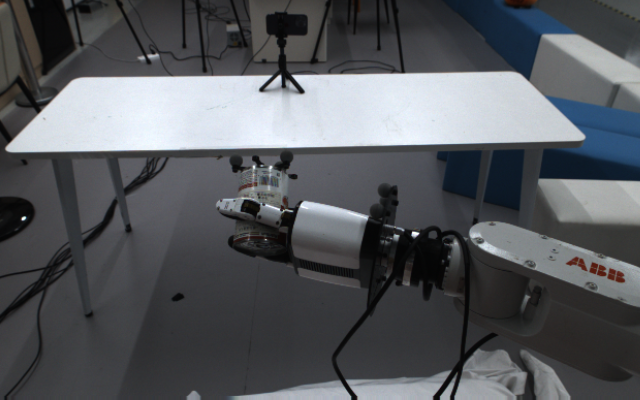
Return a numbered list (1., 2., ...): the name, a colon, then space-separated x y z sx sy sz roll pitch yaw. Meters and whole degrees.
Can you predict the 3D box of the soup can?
1. soup can: -0.073 0.015 0.619 0.067 0.067 0.101 1 68 -1
